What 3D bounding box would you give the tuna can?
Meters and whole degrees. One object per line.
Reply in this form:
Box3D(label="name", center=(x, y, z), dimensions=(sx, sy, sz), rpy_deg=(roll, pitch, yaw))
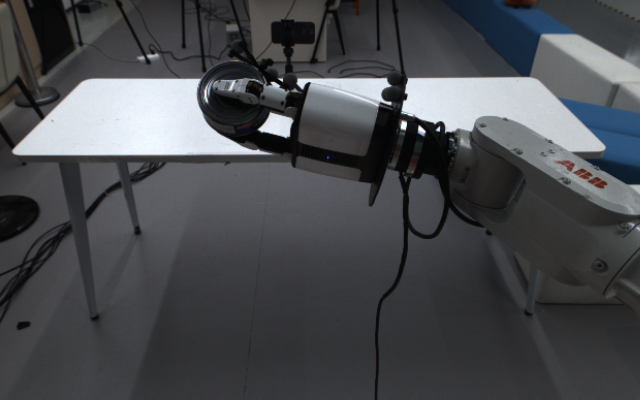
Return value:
Box3D(label="tuna can", center=(-0.098, -0.116, 0.578), dimensions=(0.085, 0.034, 0.085), rpy_deg=(0, 74, -1))
